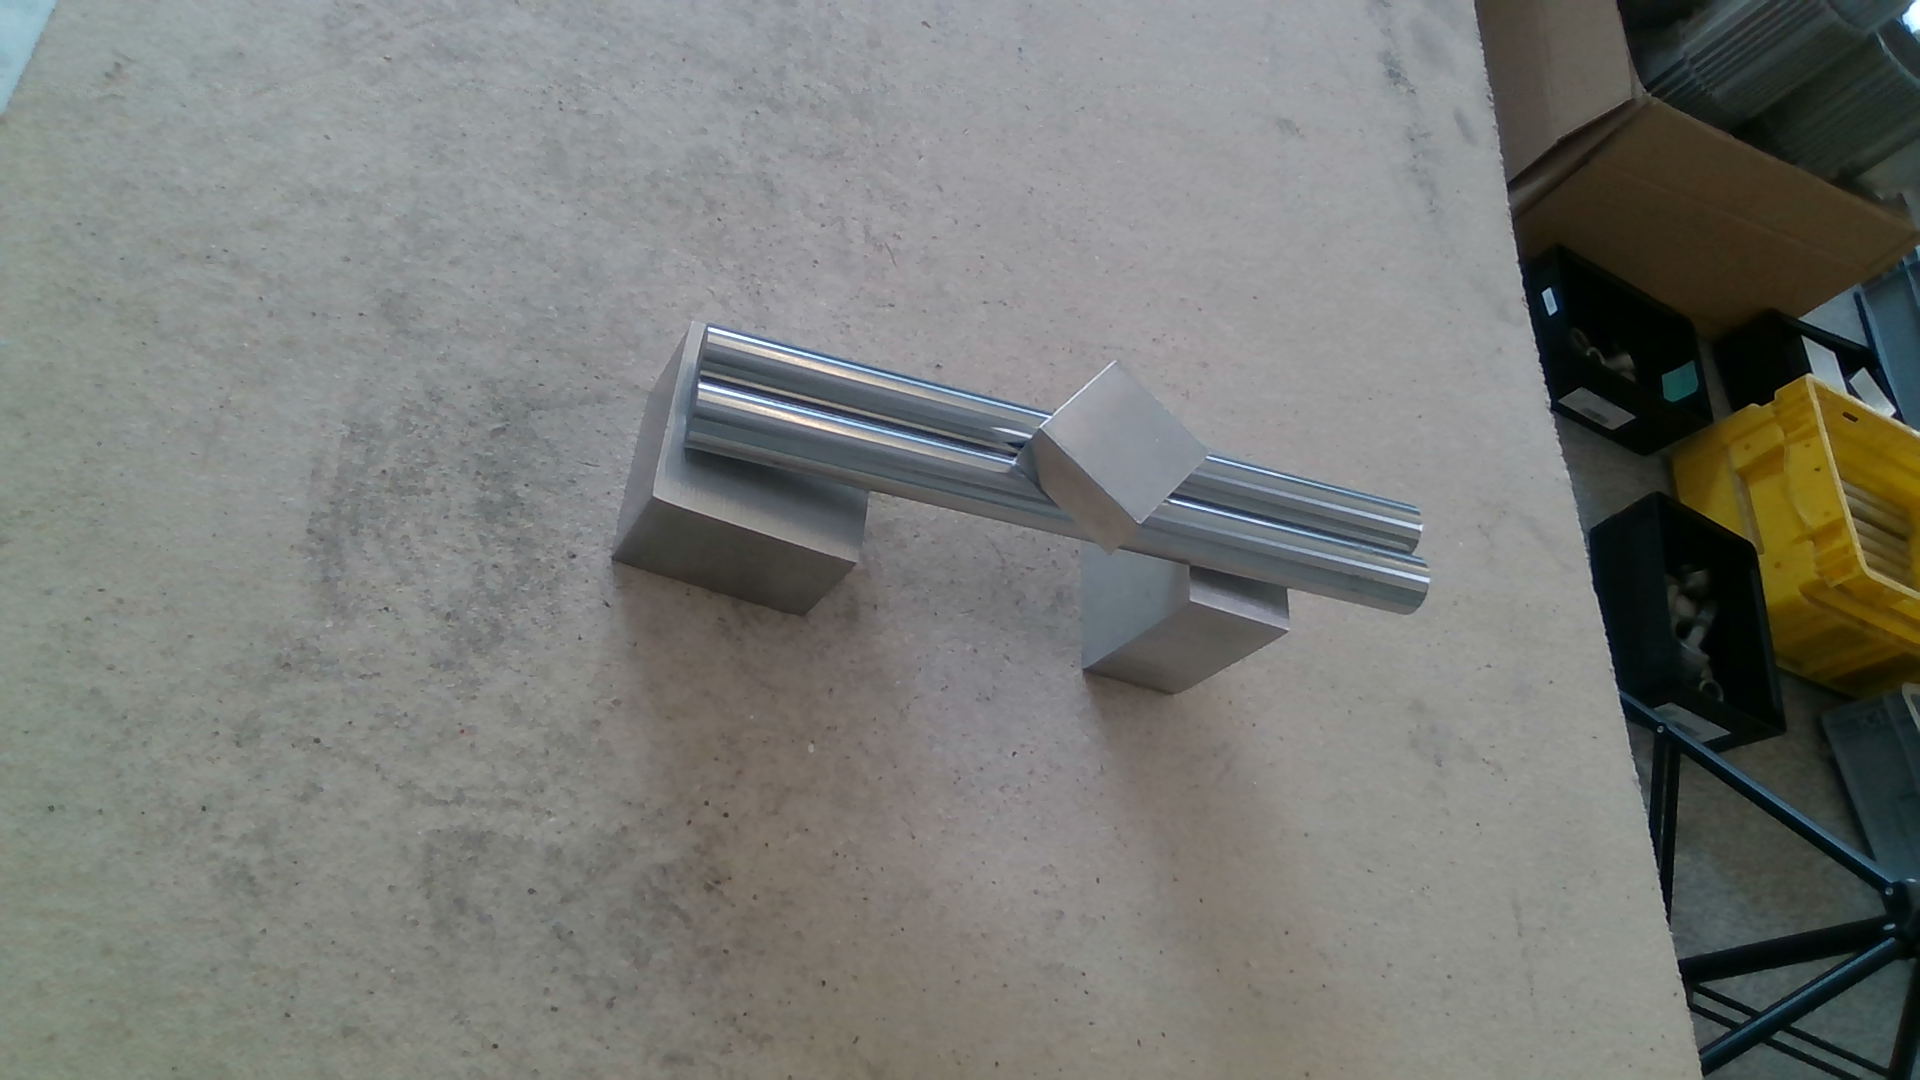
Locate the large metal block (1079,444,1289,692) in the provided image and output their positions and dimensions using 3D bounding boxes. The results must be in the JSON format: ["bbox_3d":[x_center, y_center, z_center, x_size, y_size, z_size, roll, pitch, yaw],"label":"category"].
[{"bbox_3d":[0.095,0.012,0.604,0.050,0.080,0.080,17,57,-23],"label":"large metal block"}]

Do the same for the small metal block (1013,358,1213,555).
[{"bbox_3d":[0.057,-0.032,0.512,0.050,0.025,0.050,45,56,4],"label":"small metal block"}]

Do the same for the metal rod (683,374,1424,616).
[{"bbox_3d":[0.045,-0.013,0.527,0.300,0.025,0.025,13,59,-17],"label":"metal rod"}]

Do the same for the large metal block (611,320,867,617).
[{"bbox_3d":[-0.082,-0.026,0.533,0.080,0.050,0.080,19,57,-22],"label":"large metal block"}]

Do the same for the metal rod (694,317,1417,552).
[{"bbox_3d":[0.046,-0.036,0.540,0.300,0.025,0.025,13,59,-17],"label":"metal rod"}]
